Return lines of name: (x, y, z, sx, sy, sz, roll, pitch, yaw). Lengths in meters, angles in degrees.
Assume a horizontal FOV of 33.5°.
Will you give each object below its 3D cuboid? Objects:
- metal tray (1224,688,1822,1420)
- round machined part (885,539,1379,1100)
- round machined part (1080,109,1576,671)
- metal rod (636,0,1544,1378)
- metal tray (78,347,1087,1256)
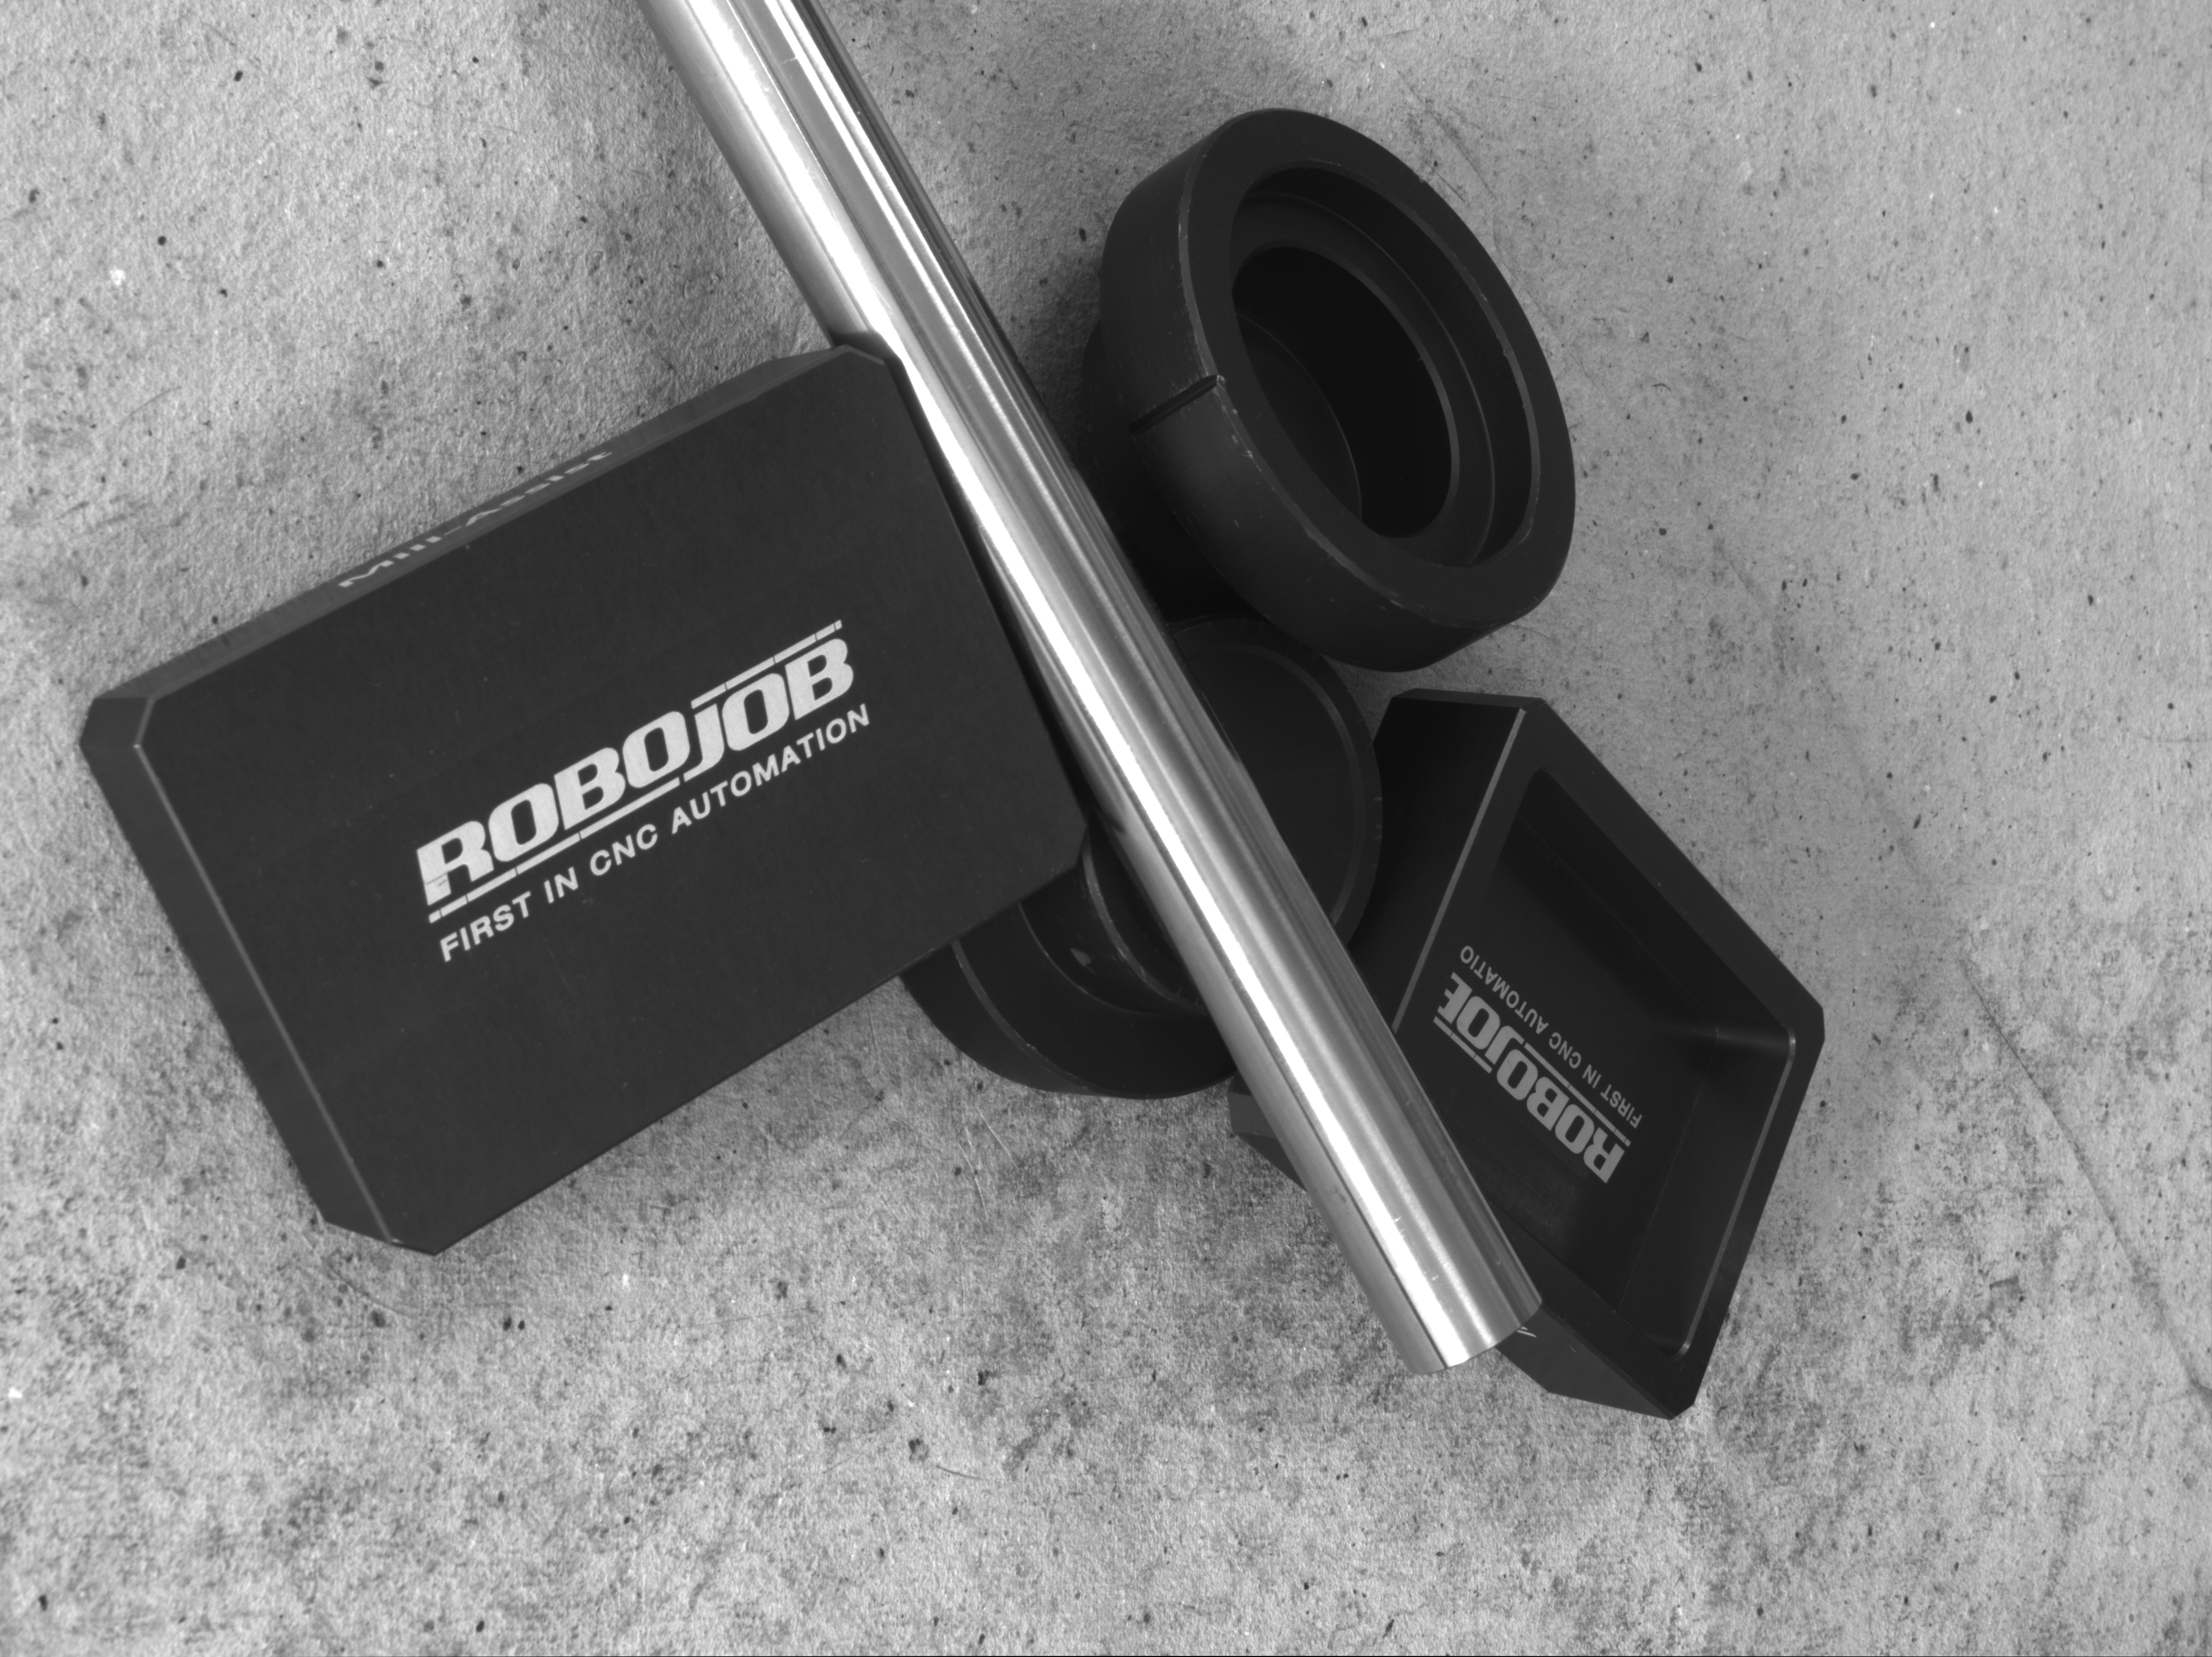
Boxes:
metal tray: (0.082, 0.044, 0.687, 0.130, 0.030, 0.090, 42, 64, -43)
round machined part: (0.009, -0.002, 0.633, 0.098, 0.042, 0.098, 0, 90, -40)
round machined part: (0.034, -0.072, 0.640, 0.098, 0.042, 0.098, 25, 52, -36)
metal rod: (-0.013, -0.047, 0.583, 0.025, 0.025, 0.300, -34, 98, -35)
metal tray: (-0.076, -0.006, 0.557, 0.130, 0.030, 0.090, -31, 106, -26)
